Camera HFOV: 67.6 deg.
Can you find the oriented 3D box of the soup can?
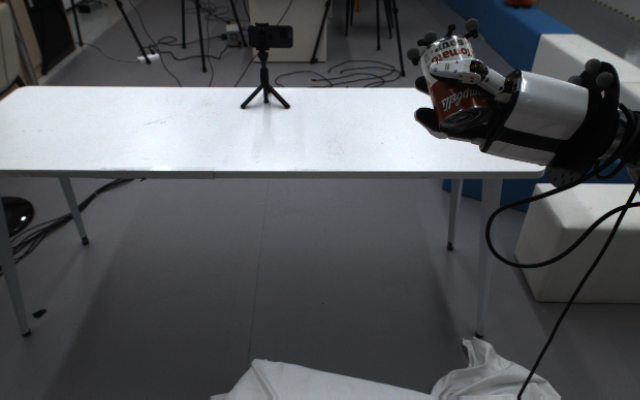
[{"bbox_3d":[0.172,-0.147,0.613,0.067,0.067,0.101,-8,74,-14],"label":"soup can"}]
